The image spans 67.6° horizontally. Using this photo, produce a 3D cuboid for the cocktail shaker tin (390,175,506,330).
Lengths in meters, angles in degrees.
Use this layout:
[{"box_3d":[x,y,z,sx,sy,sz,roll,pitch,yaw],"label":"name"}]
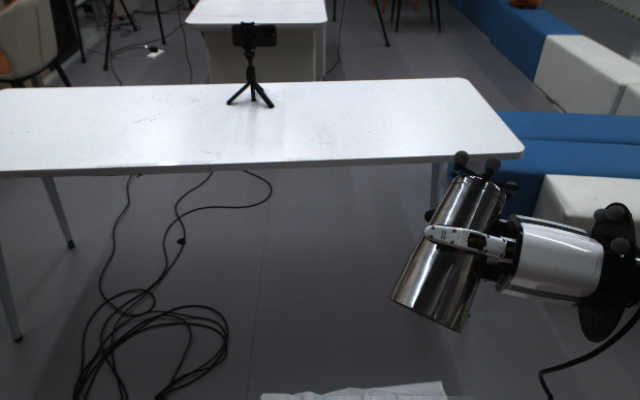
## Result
[{"box_3d":[0.161,0.056,0.578,0.093,0.093,0.170,21,81,25],"label":"cocktail shaker tin"}]
